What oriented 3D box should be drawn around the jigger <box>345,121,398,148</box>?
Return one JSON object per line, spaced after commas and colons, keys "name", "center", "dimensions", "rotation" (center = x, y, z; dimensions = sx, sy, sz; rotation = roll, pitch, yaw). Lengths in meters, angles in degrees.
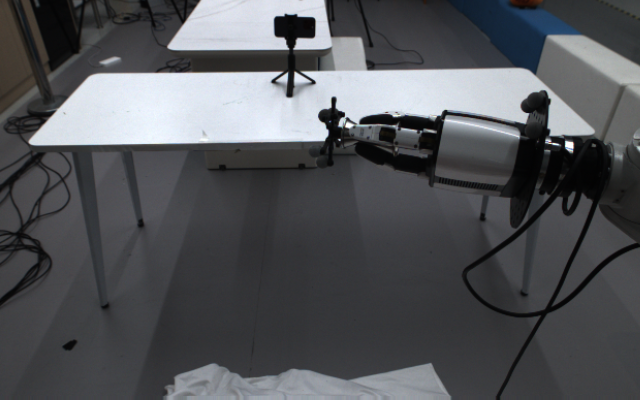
{"name": "jigger", "center": [0.070, -0.084, 0.603], "dimensions": [0.071, 0.043, 0.043], "rotation": [8, 35, 16]}
